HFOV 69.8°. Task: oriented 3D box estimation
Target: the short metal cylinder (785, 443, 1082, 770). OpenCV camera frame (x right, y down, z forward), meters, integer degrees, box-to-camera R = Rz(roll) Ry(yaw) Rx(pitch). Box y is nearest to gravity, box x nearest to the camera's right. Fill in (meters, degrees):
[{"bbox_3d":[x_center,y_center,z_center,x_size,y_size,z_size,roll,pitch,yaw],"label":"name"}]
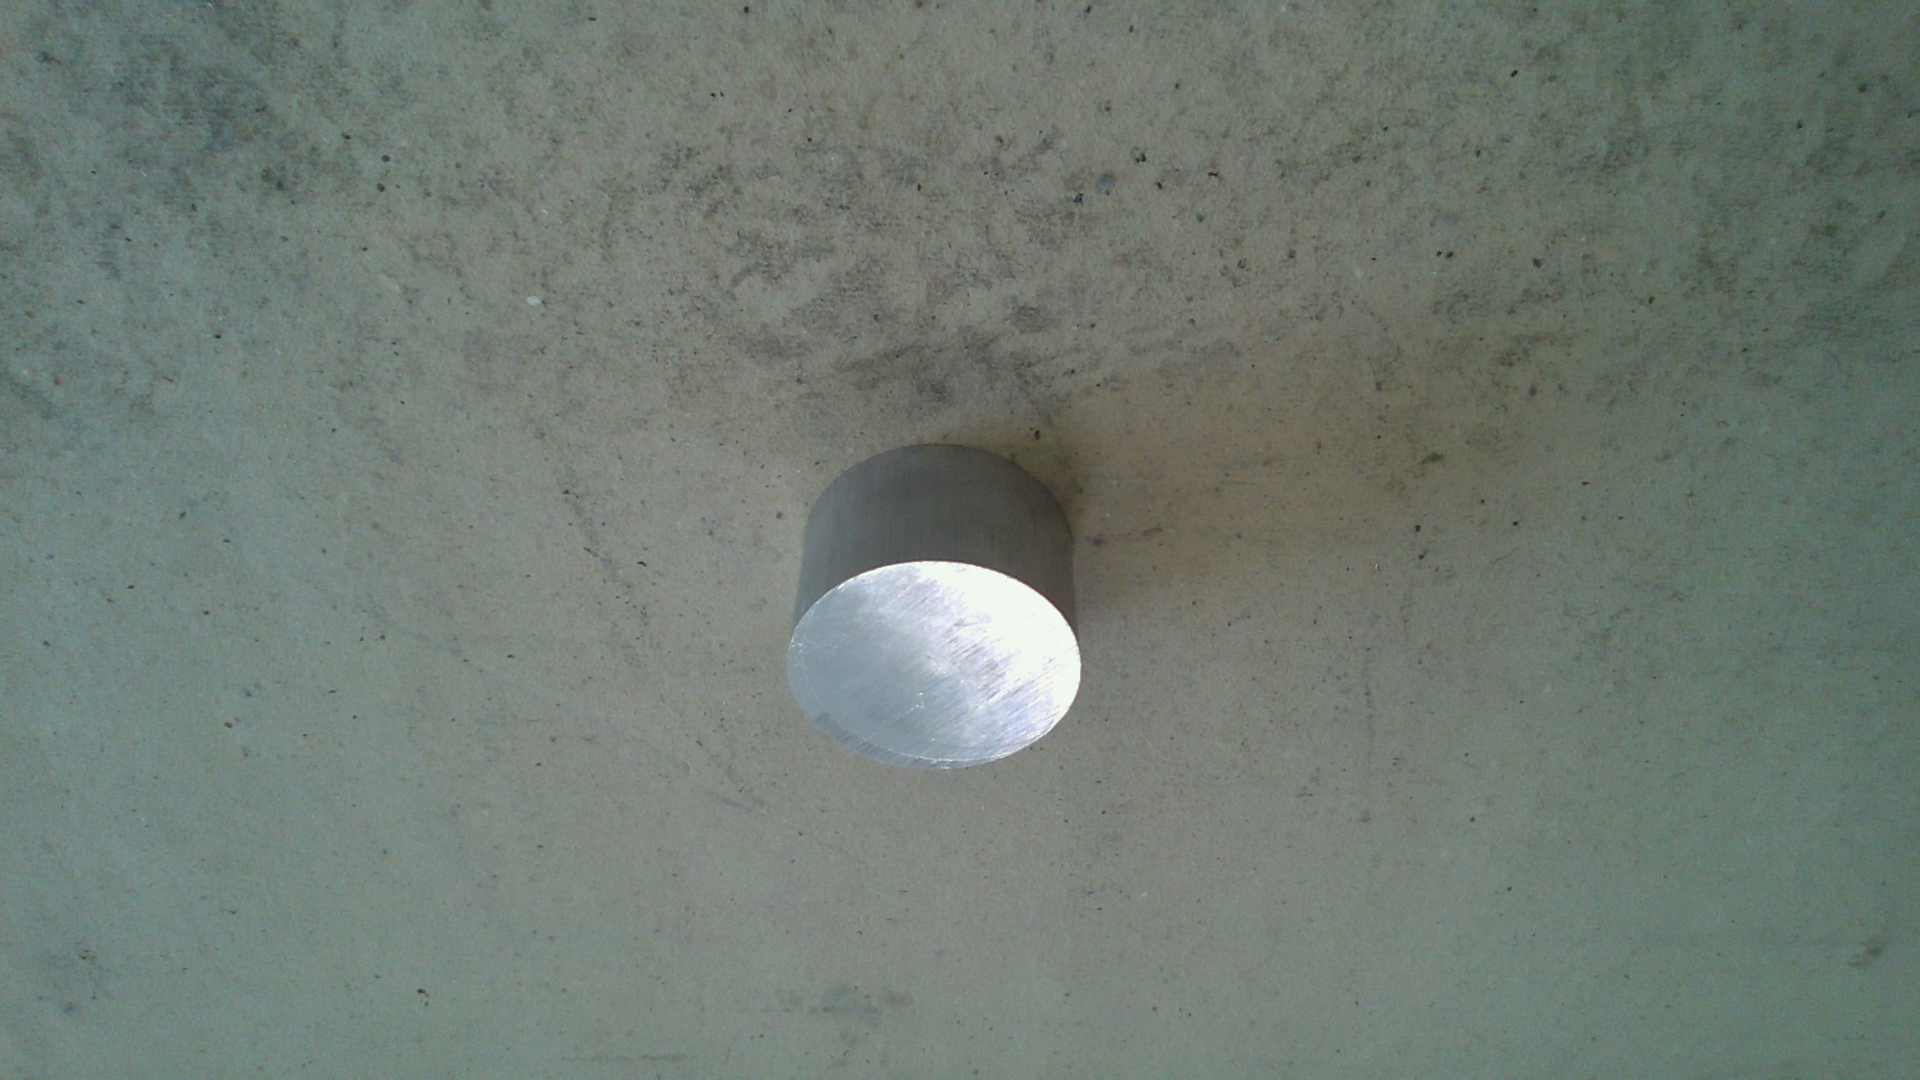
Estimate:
[{"bbox_3d":[-0.007,0.020,0.391,0.080,0.050,0.080,-1,130,-1],"label":"short metal cylinder"}]
